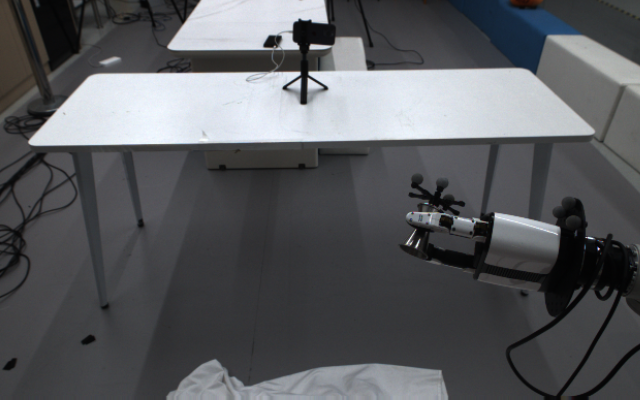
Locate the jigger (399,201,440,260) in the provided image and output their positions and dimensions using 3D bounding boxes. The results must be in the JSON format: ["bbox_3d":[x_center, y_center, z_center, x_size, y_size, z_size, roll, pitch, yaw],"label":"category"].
[{"bbox_3d":[0.143,0.040,0.677,0.043,0.043,0.071,20,73,24],"label":"jigger"}]
